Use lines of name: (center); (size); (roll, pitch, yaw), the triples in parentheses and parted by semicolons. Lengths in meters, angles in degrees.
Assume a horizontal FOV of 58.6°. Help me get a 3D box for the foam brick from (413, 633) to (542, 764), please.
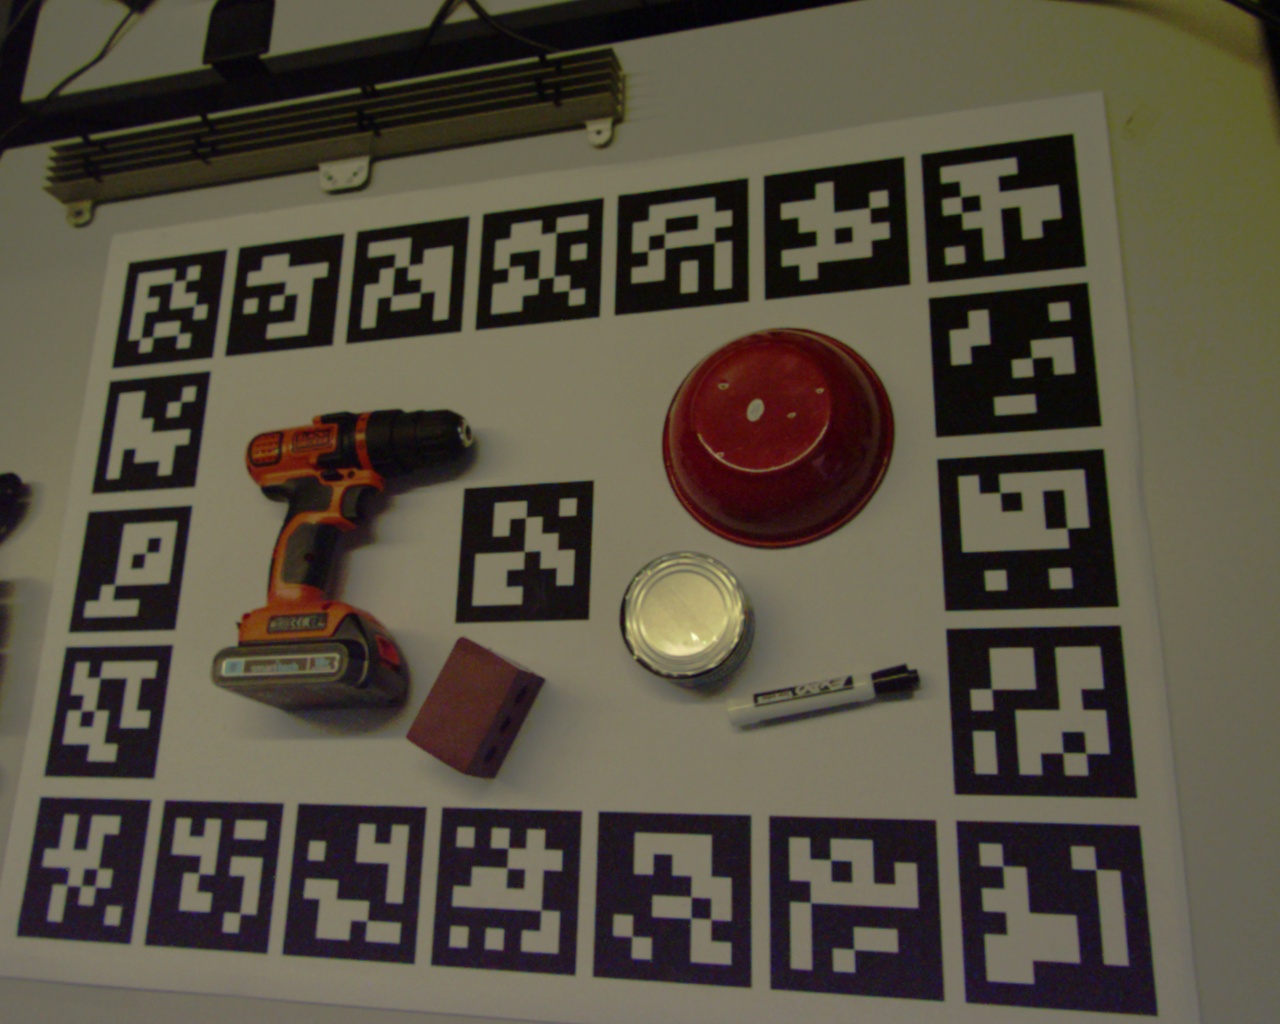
foam brick: (-0.115, 0.133, 0.806); (0.052, 0.052, 0.078); (22, 83, 20)

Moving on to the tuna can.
tuna can: (0.026, 0.066, 0.784); (0.086, 0.033, 0.086); (-4, 73, 13)

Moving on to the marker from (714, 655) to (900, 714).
marker: (0.110, 0.114, 0.752); (0.122, 0.019, 0.020); (-13, 73, 13)

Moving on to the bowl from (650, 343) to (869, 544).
bowl: (0.077, -0.061, 0.805); (0.163, 0.054, 0.162); (-8, 65, 17)

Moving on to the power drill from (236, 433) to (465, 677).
power drill: (-0.225, 0.030, 0.865); (0.185, 0.057, 0.187); (-4, 71, 12)
